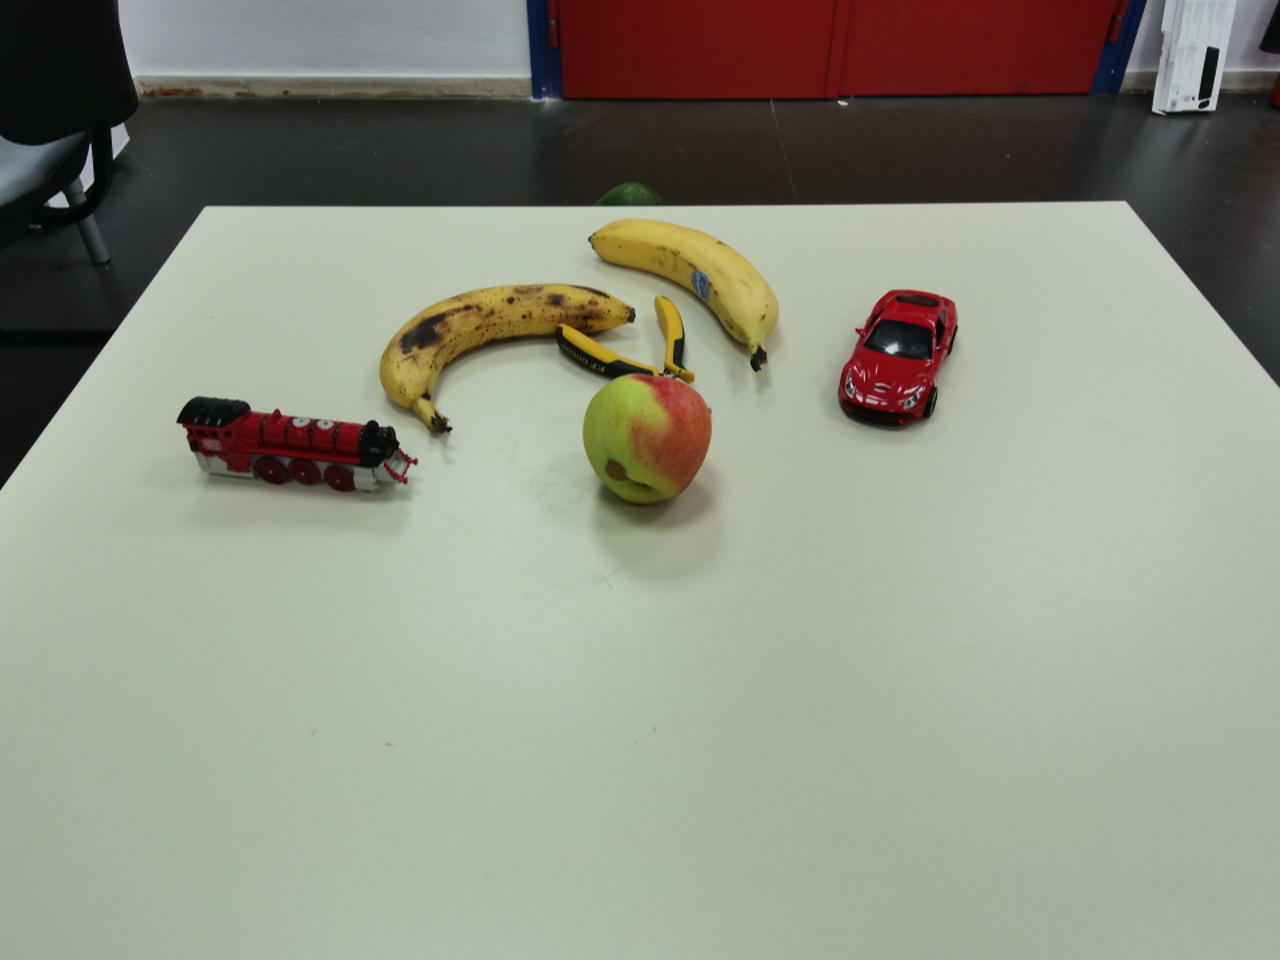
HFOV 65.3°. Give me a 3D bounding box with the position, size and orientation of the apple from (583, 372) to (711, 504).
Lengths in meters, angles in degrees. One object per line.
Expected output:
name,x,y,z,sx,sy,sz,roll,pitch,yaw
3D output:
apple,0.004,-0.025,0.575,0.075,0.074,0.075,-12,41,-15
